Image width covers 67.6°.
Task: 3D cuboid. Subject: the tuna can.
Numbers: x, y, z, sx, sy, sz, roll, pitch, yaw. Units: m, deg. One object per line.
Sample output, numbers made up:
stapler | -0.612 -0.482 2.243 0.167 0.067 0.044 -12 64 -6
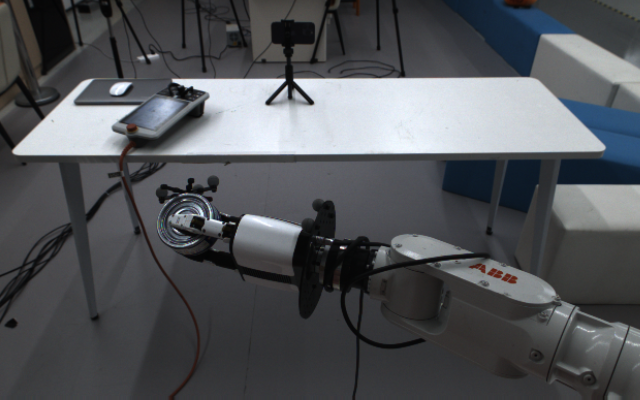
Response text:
tuna can | -0.182 0.039 0.682 0.085 0.034 0.085 -4 68 9
